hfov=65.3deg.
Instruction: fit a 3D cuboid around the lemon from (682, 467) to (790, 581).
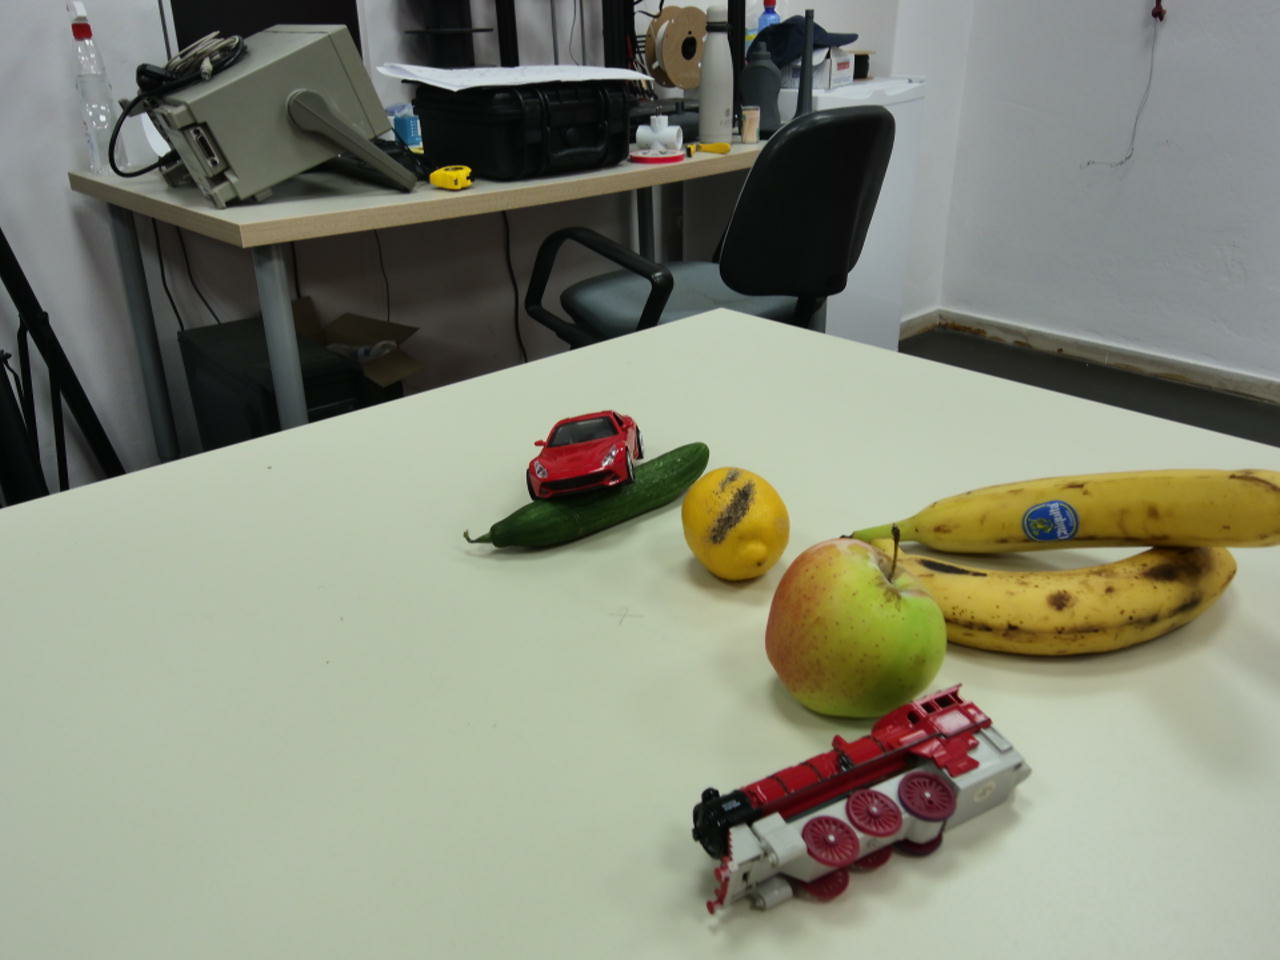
[{"bbox_3d":[0.051,0.023,0.532,0.061,0.056,0.058,19,30,37],"label":"lemon"}]
